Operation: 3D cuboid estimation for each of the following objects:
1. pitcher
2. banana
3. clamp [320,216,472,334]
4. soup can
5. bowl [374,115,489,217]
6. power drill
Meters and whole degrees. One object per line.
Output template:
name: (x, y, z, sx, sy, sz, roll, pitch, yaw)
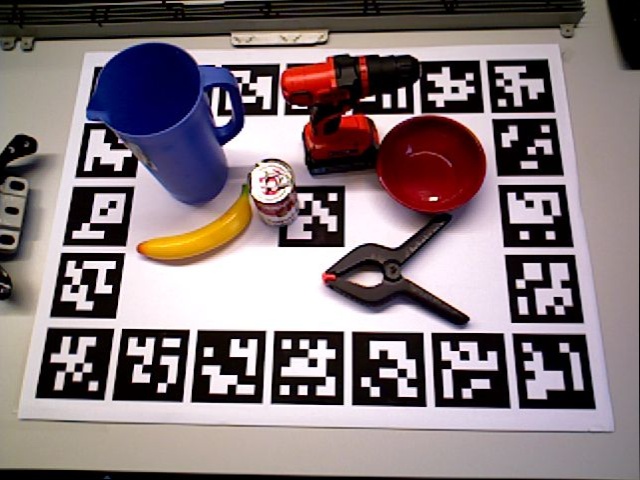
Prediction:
pitcher: (-0.191, -0.146, 0.733, 0.187, 0.245, 0.132, -24, 69, -5)
banana: (-0.190, -0.005, 0.799, 0.196, 0.039, 0.074, -25, 64, -6)
clamp: (0.100, 0.052, 0.754, 0.202, 0.037, 0.164, -3, 77, 3)
soup can: (-0.069, -0.066, 0.775, 0.068, 0.103, 0.067, -2, 63, 2)
bowl: (0.158, -0.100, 0.794, 0.161, 0.055, 0.160, -1, 74, 4)
power drill: (0.046, -0.181, 0.737, 0.184, 0.189, 0.057, -5, 71, 0)
